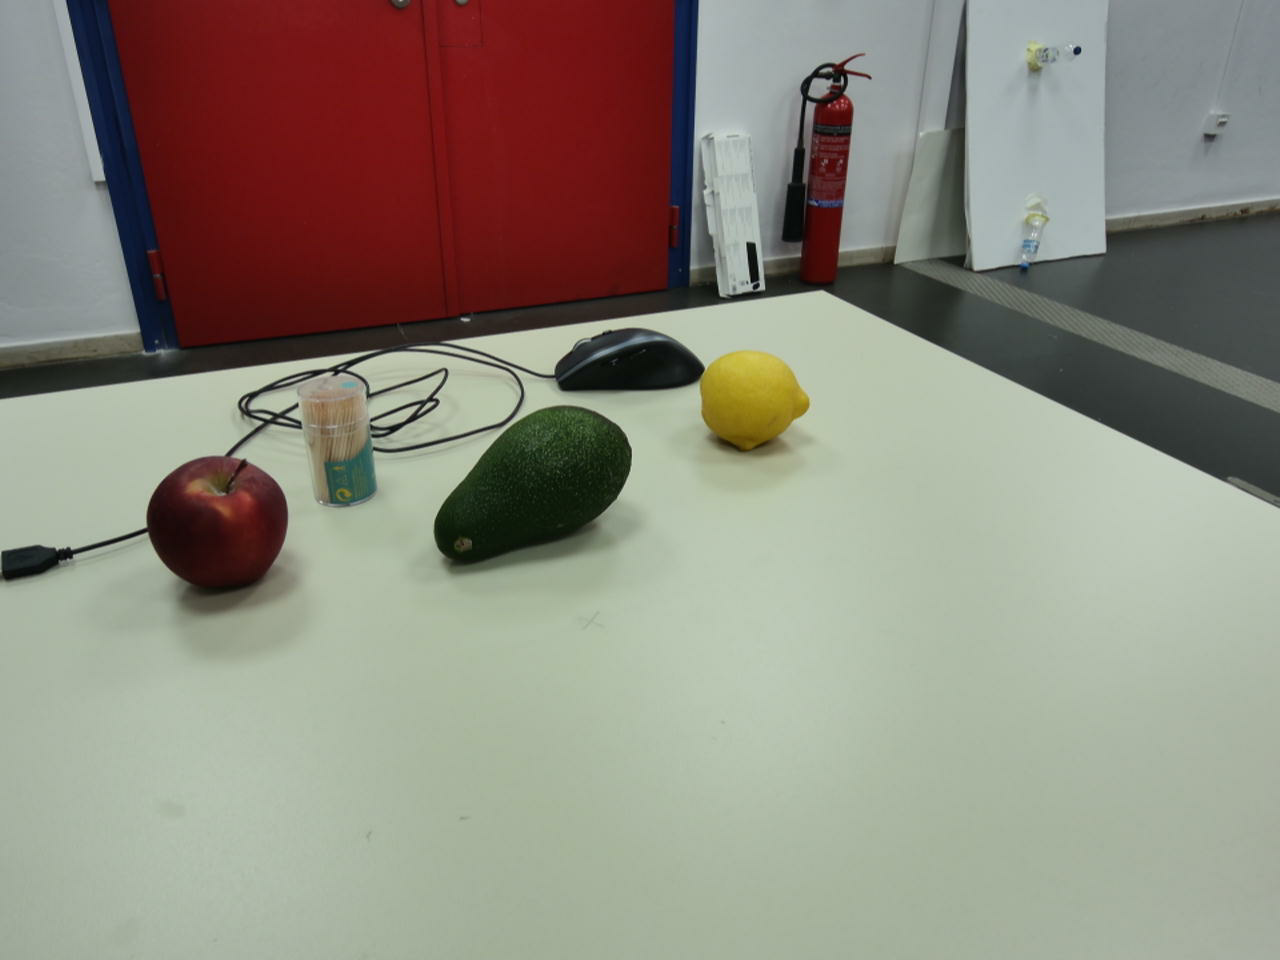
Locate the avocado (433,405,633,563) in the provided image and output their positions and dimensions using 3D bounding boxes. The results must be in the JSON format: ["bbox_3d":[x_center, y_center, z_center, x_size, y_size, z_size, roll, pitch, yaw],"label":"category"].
[{"bbox_3d":[-0.064,-0.002,0.583,0.123,0.076,0.074,-7,27,-17],"label":"avocado"}]
